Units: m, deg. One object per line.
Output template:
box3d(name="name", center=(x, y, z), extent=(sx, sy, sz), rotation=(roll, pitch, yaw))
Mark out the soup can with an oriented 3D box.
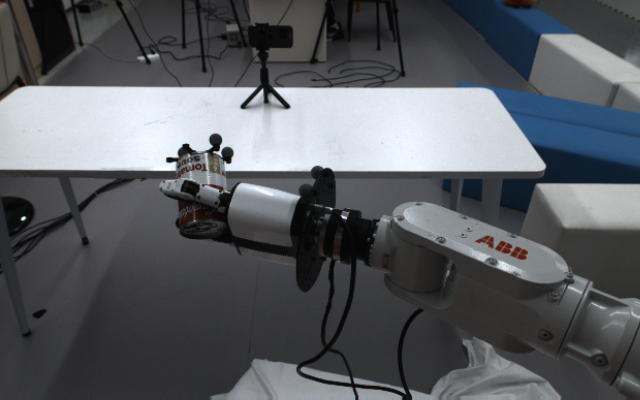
box3d(name="soup can", center=(-0.157, -0.004, 0.653), extent=(0.067, 0.067, 0.101), rotation=(-6, 67, -12))
